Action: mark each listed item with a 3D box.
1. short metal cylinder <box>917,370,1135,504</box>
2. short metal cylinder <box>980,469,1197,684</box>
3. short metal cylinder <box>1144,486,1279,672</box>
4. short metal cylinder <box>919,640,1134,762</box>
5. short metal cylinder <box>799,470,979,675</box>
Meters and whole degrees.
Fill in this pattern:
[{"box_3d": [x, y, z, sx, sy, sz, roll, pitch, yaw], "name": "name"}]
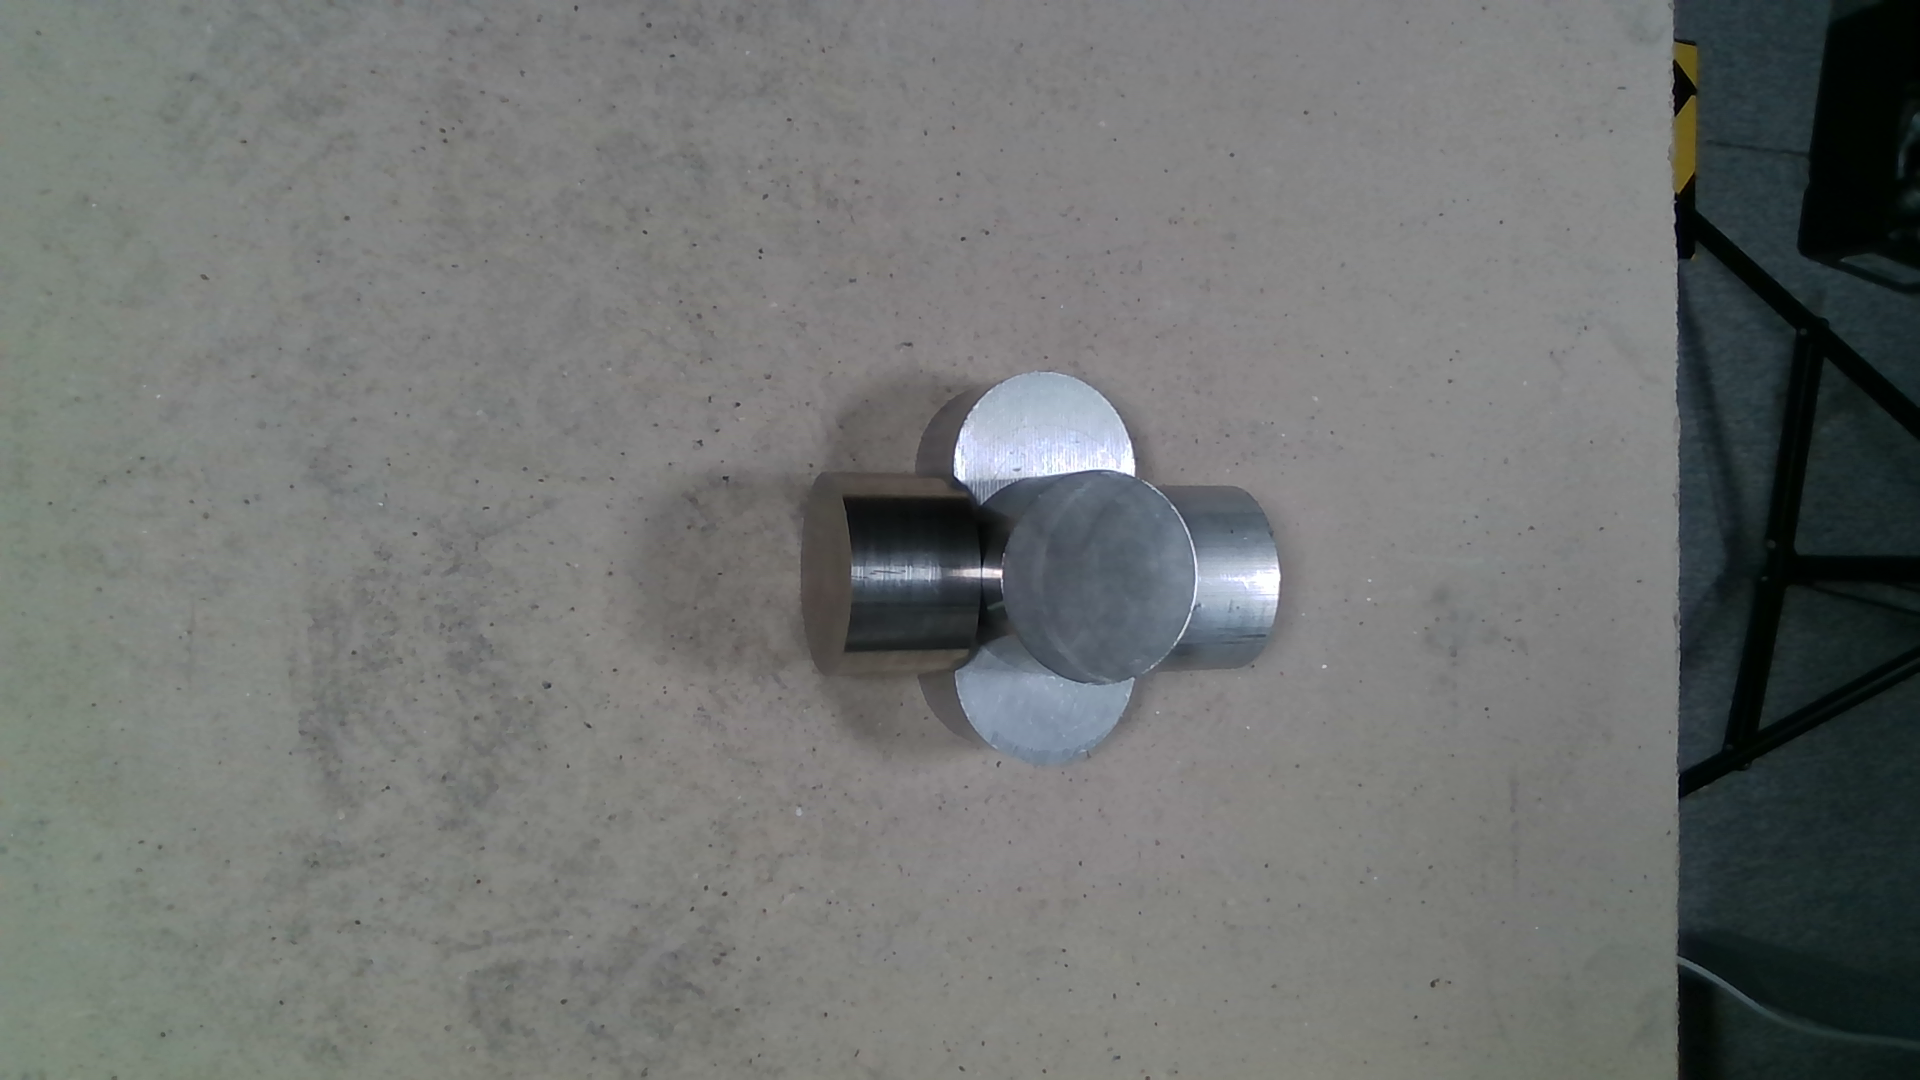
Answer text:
[{"box_3d": [0.027, -0.029, 0.582, 0.080, 0.050, 0.080, 0, 90, -20], "name": "short metal cylinder"}, {"box_3d": [0.044, 0.014, 0.535, 0.080, 0.050, 0.080, 0, 90, -20], "name": "short metal cylinder"}, {"box_3d": [0.093, 0.016, 0.592, 0.050, 0.080, 0.080, 0, 90, -20], "name": "short metal cylinder"}, {"box_3d": [0.027, 0.050, 0.583, 0.080, 0.050, 0.080, 0, 90, -20], "name": "short metal cylinder"}, {"box_3d": [-0.030, 0.013, 0.546, 0.050, 0.080, 0.080, 0, 90, -20], "name": "short metal cylinder"}]
